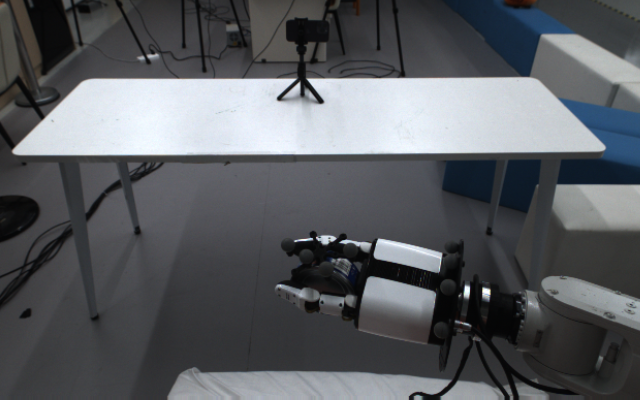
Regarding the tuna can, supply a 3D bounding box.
[{"bbox_3d":[0.011,0.109,0.608,0.085,0.085,0.034,12,39,13],"label":"tuna can"}]
